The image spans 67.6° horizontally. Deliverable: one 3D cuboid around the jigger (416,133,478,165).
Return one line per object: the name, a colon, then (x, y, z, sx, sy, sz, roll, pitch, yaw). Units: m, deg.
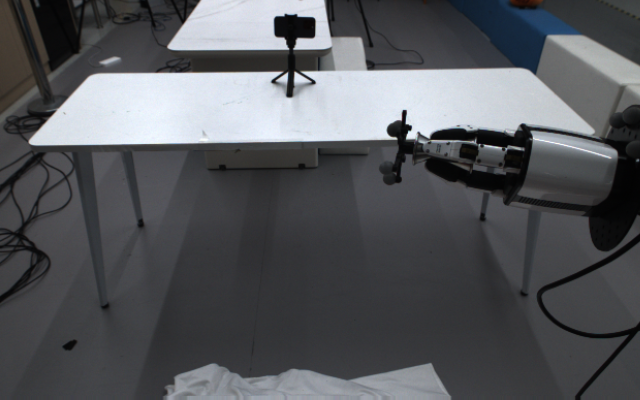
jigger: (0.152, -0.061, 0.569, 0.071, 0.043, 0.043, 8, 35, 16)
